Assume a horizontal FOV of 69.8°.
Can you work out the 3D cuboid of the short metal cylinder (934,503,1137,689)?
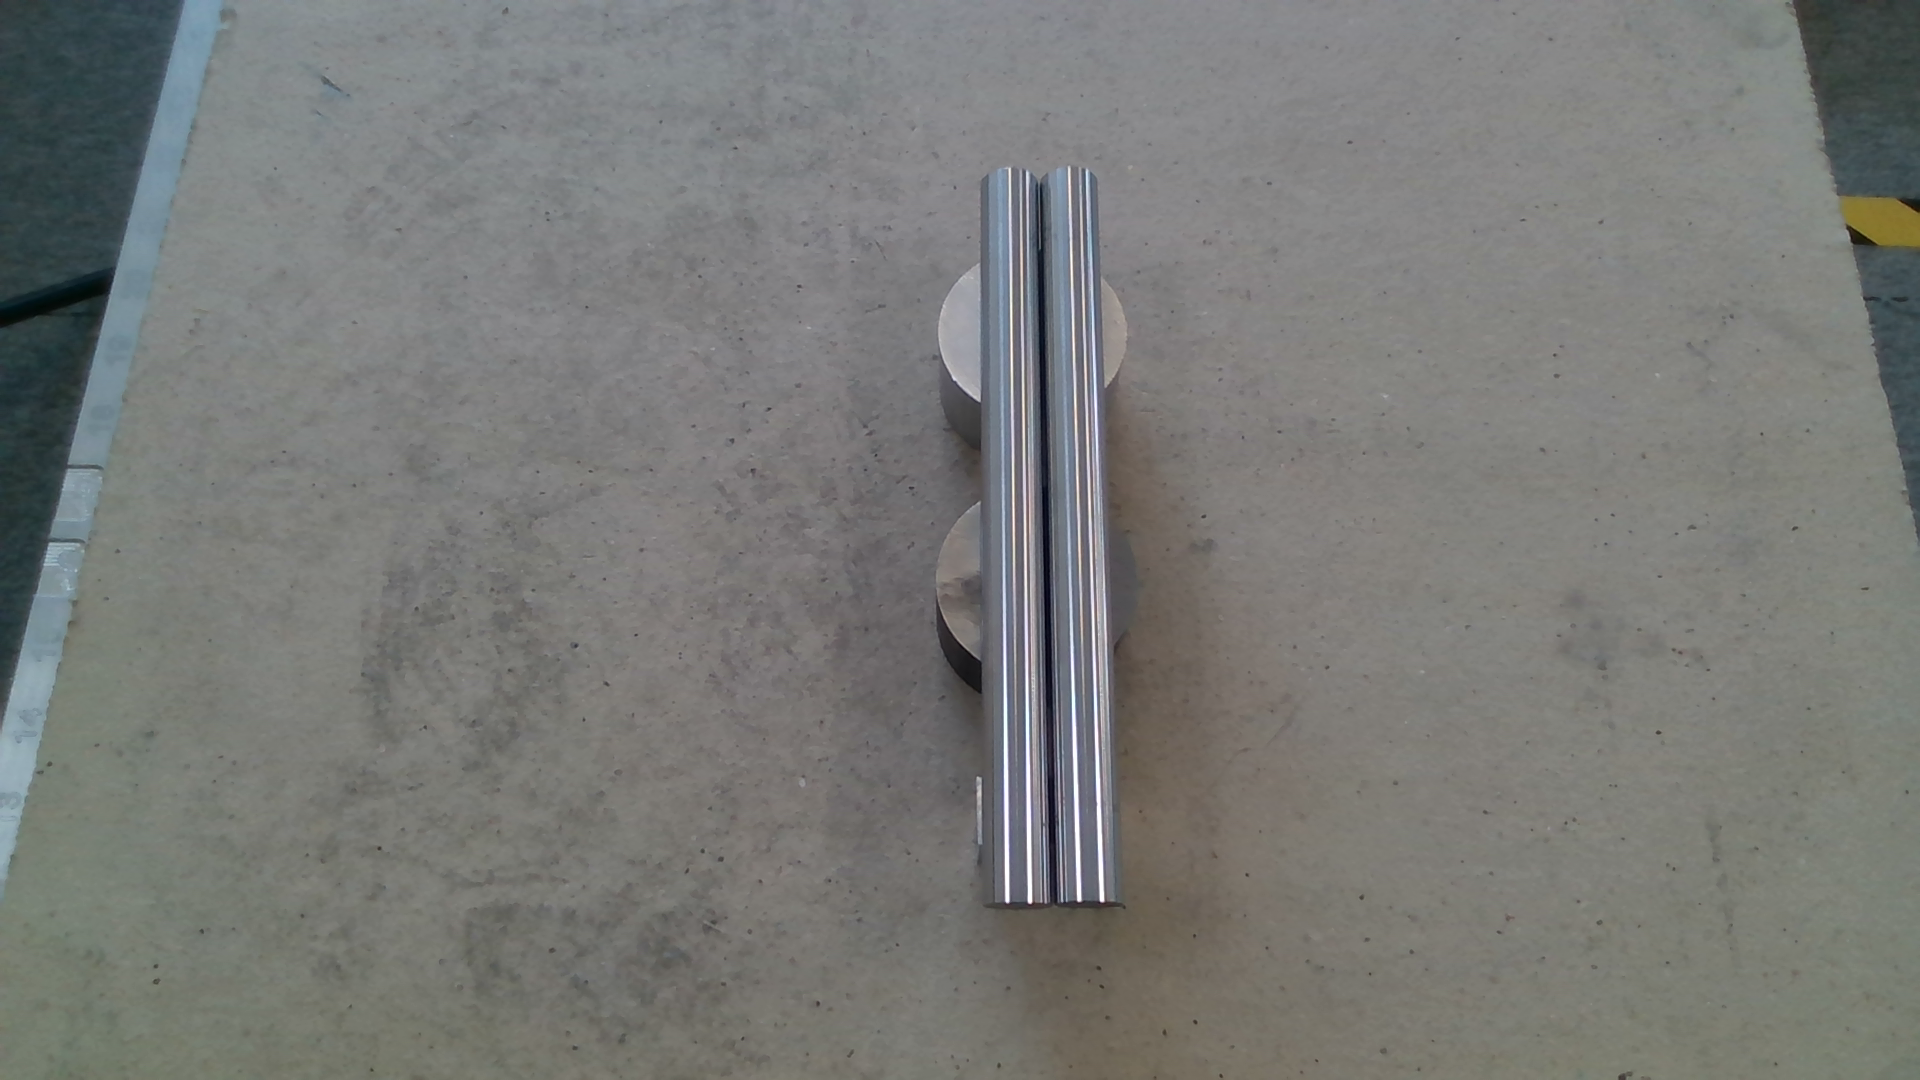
[{"bbox_3d":[0.030,0.024,0.567,0.080,0.050,0.080,0,70,0],"label":"short metal cylinder"}]

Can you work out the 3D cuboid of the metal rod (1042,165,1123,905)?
[{"bbox_3d":[0.046,-0.012,0.539,0.025,0.025,0.299,0,70,0],"label":"metal rod"}]

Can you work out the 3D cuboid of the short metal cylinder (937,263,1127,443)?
[{"bbox_3d":[0.030,-0.080,0.603,0.080,0.050,0.080,0,70,0],"label":"short metal cylinder"}]

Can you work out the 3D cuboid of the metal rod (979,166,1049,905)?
[{"bbox_3d":[0.020,-0.012,0.539,0.025,0.025,0.299,0,70,0],"label":"metal rod"}]

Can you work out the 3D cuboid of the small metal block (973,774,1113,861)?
[{"bbox_3d":[0.031,0.109,0.538,0.050,0.050,0.025,-1,70,-1],"label":"small metal block"}]
